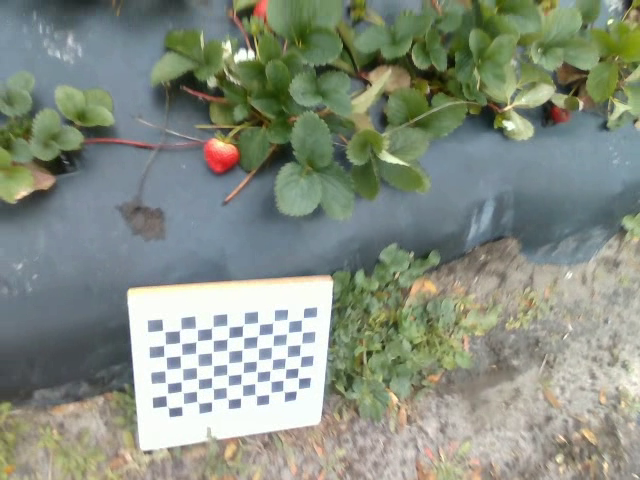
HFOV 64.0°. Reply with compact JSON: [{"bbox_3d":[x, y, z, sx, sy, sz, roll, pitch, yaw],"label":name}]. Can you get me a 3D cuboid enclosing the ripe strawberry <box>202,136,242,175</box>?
[{"bbox_3d":[-0.167,-0.143,0.855,0.061,0.065,0.049,6,15,-22],"label":"ripe strawberry"}]
